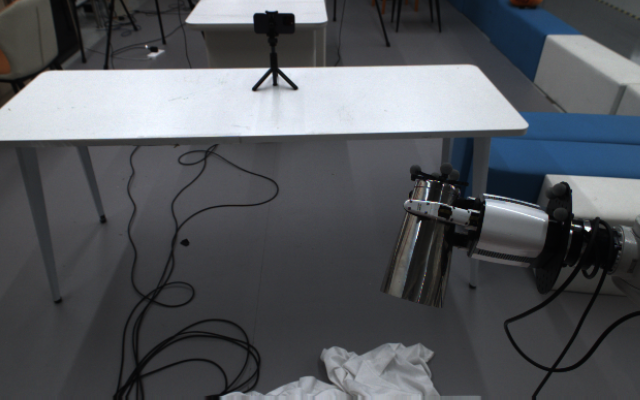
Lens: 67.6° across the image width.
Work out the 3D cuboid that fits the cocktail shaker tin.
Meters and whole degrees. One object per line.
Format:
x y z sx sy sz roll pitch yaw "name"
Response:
0.154 0.057 0.706 0.093 0.170 0.093 14 -5 1 "cocktail shaker tin"
